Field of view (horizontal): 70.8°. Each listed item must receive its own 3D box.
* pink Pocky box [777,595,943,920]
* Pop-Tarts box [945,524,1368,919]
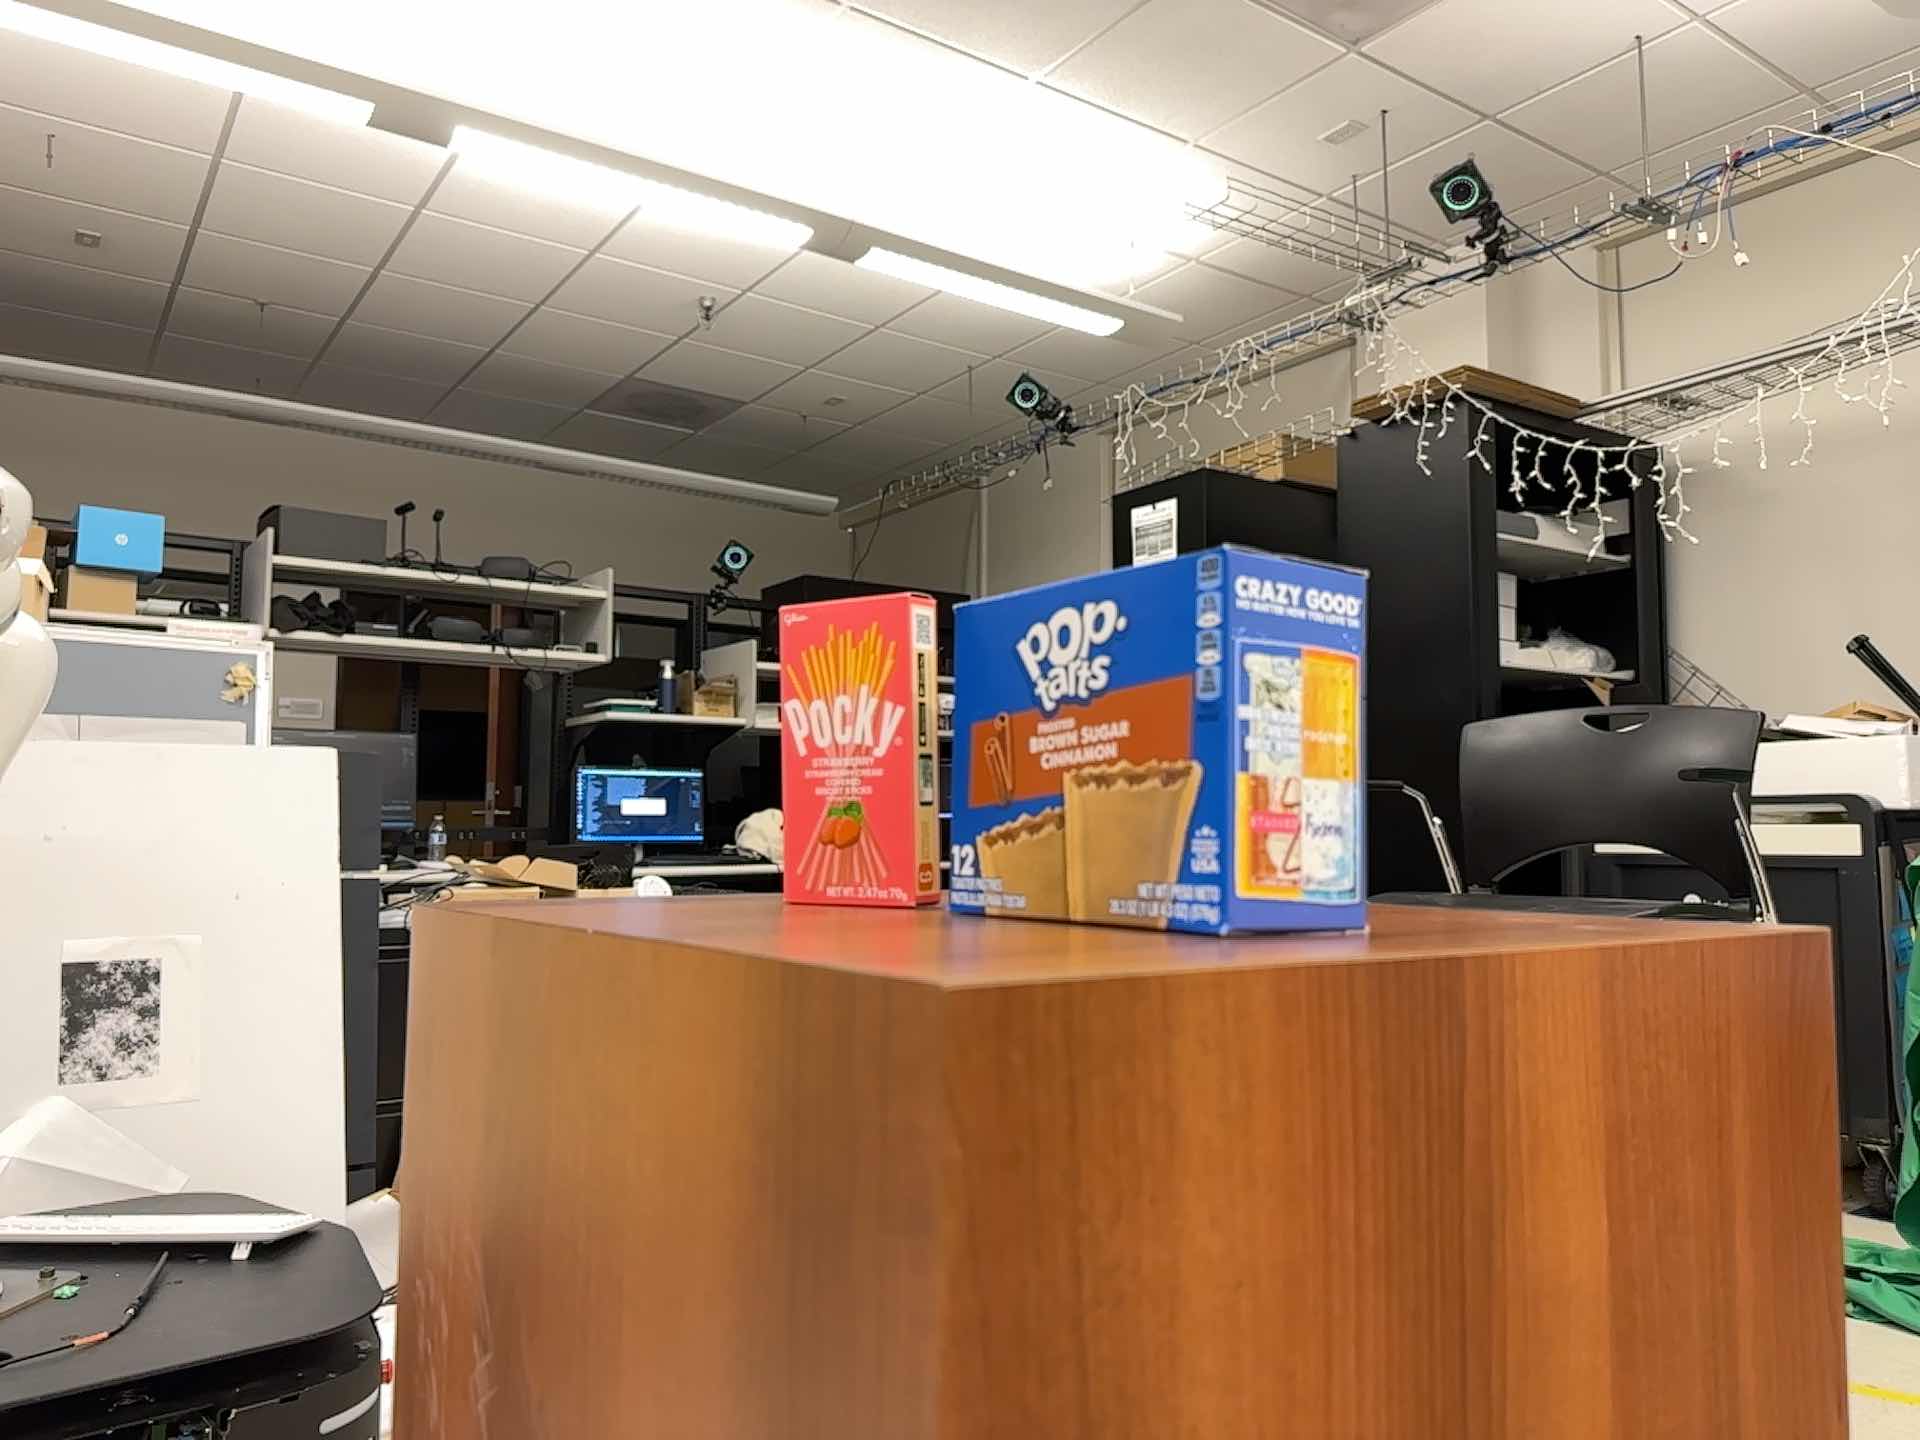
[{"bbox_3d":[-0.051,0.020,0.665,0.084,0.155,0.029,-4,-7,33],"label":"pink Pocky box"},{"bbox_3d":[0.074,0.008,0.556,0.075,0.135,0.161,7,-8,-35],"label":"Pop-Tarts box"}]
